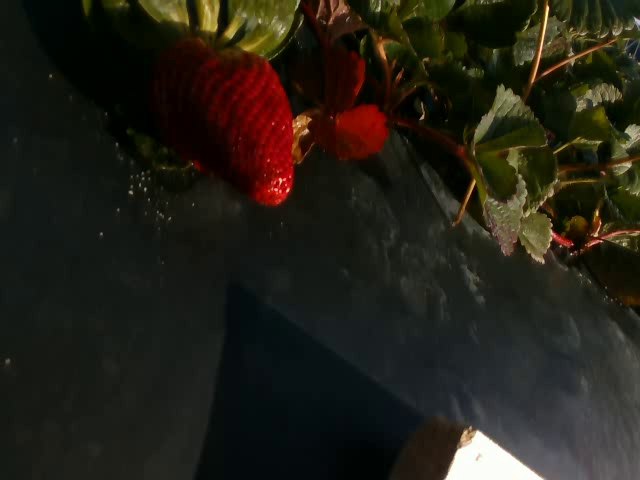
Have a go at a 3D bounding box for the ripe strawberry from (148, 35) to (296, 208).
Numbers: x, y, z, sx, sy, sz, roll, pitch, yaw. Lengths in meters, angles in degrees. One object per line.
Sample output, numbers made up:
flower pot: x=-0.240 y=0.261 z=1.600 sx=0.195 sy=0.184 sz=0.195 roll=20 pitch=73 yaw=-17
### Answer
ripe strawberry: x=-0.021 y=-0.028 z=0.163 sx=0.040 sy=0.056 sz=0.041 roll=-18 pitch=-34 yaw=-30
